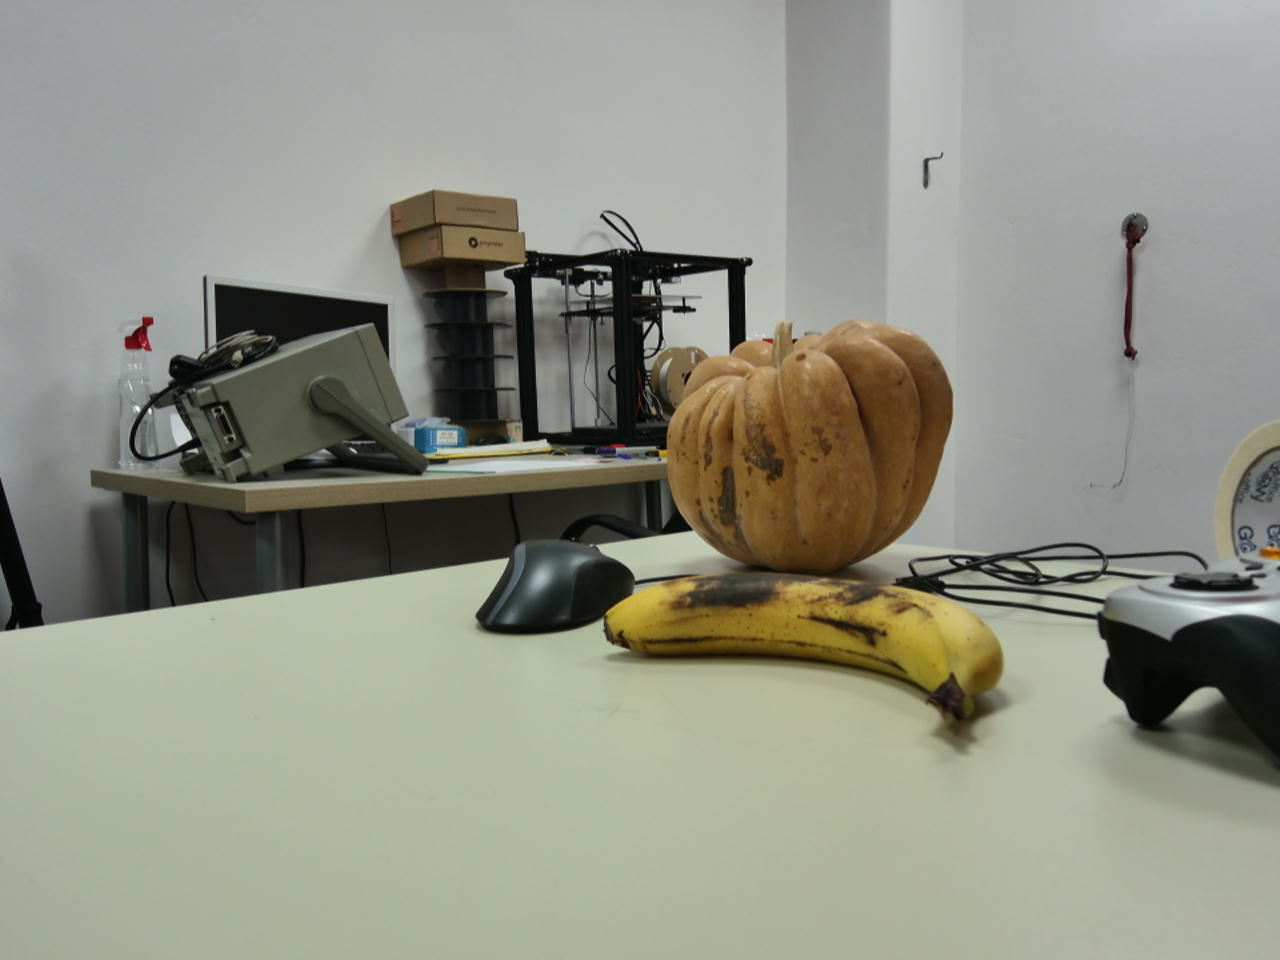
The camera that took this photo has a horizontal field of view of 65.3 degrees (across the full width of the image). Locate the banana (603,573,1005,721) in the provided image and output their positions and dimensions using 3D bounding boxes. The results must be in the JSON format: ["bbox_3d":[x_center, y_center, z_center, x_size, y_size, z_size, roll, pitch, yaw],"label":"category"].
[{"bbox_3d":[0.078,0.067,0.442,0.094,0.039,0.187,-2,3,-42],"label":"banana"}]
